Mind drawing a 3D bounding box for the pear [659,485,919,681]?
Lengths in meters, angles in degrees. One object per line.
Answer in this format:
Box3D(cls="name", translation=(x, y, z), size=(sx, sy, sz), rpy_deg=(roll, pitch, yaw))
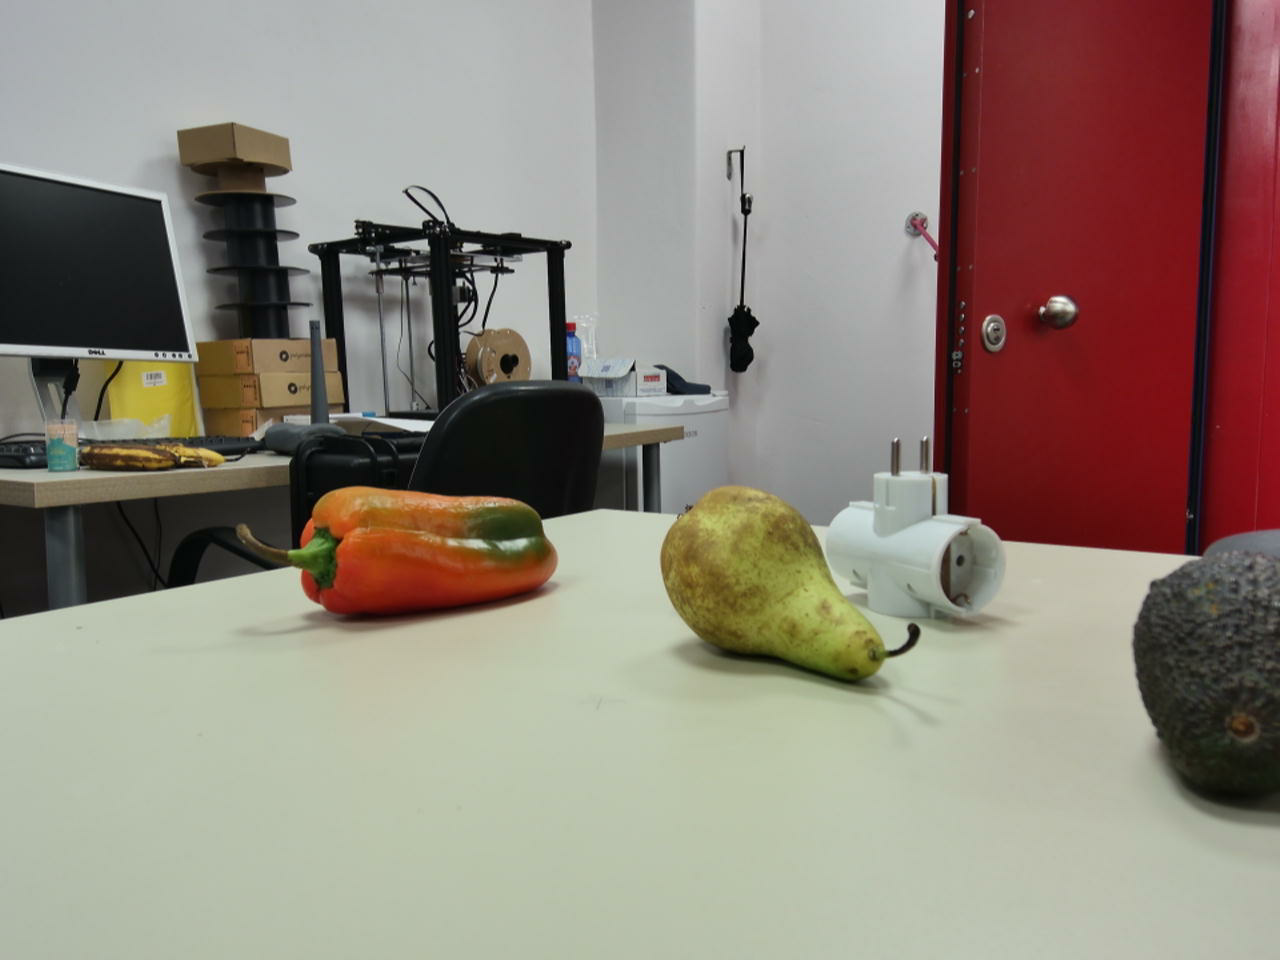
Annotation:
Box3D(cls="pear", translation=(0.071, 0.042, 0.432), size=(0.144, 0.075, 0.071), rpy_deg=(4, 5, 44))
